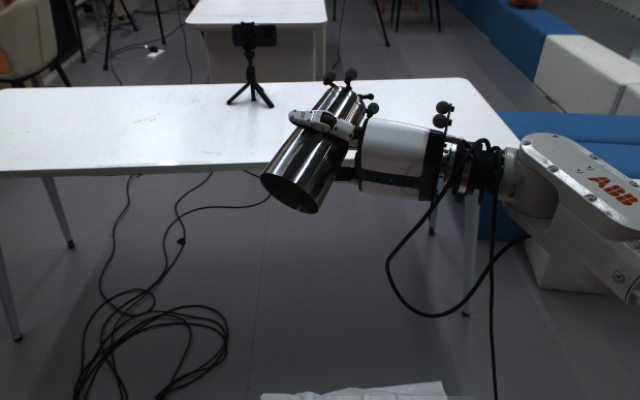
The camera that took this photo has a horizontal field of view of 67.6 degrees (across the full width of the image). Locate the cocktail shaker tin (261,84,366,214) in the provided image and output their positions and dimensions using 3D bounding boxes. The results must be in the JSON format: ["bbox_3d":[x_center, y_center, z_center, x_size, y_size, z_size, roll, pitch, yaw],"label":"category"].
[{"bbox_3d":[0.000,-0.080,0.679,0.093,0.093,0.170,20,67,24],"label":"cocktail shaker tin"}]
